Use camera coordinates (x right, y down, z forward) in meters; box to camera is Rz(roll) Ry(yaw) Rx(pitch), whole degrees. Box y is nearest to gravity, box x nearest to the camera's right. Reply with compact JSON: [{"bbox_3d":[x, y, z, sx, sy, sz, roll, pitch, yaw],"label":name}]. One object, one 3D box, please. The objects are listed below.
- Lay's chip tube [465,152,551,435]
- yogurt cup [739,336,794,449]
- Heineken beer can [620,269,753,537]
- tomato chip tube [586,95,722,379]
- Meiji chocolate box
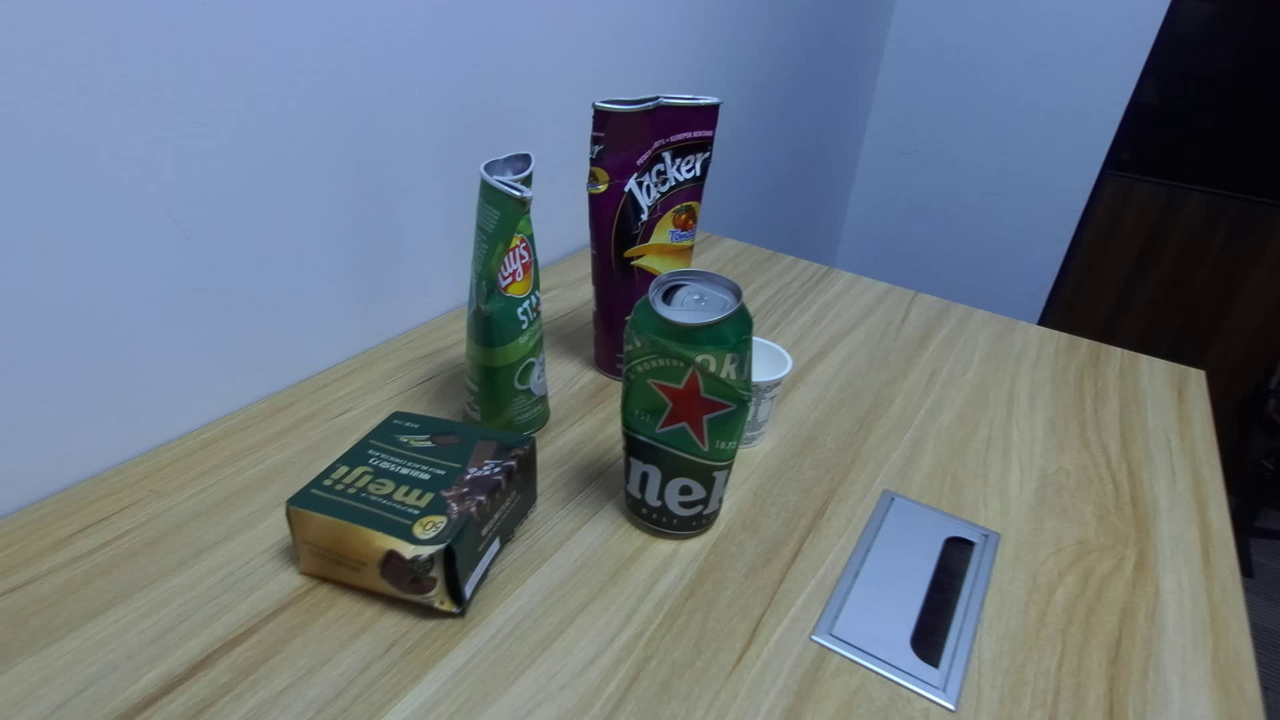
[{"bbox_3d":[-0.098,-0.042,0.520,0.069,0.201,0.077,-14,37,-29],"label":"Lay's chip tube"},{"bbox_3d":[0.078,0.025,0.558,0.072,0.068,0.072,5,31,-3],"label":"yogurt cup"},{"bbox_3d":[0.027,0.033,0.444,0.069,0.168,0.068,-8,34,-17],"label":"Heineken beer can"},{"bbox_3d":[0.004,-0.096,0.594,0.090,0.236,0.078,10,29,6],"label":"tomato chip tube"},{"bbox_3d":[-0.136,0.088,0.438,0.115,0.058,0.122,10,29,14],"label":"Meiji chocolate box"}]
